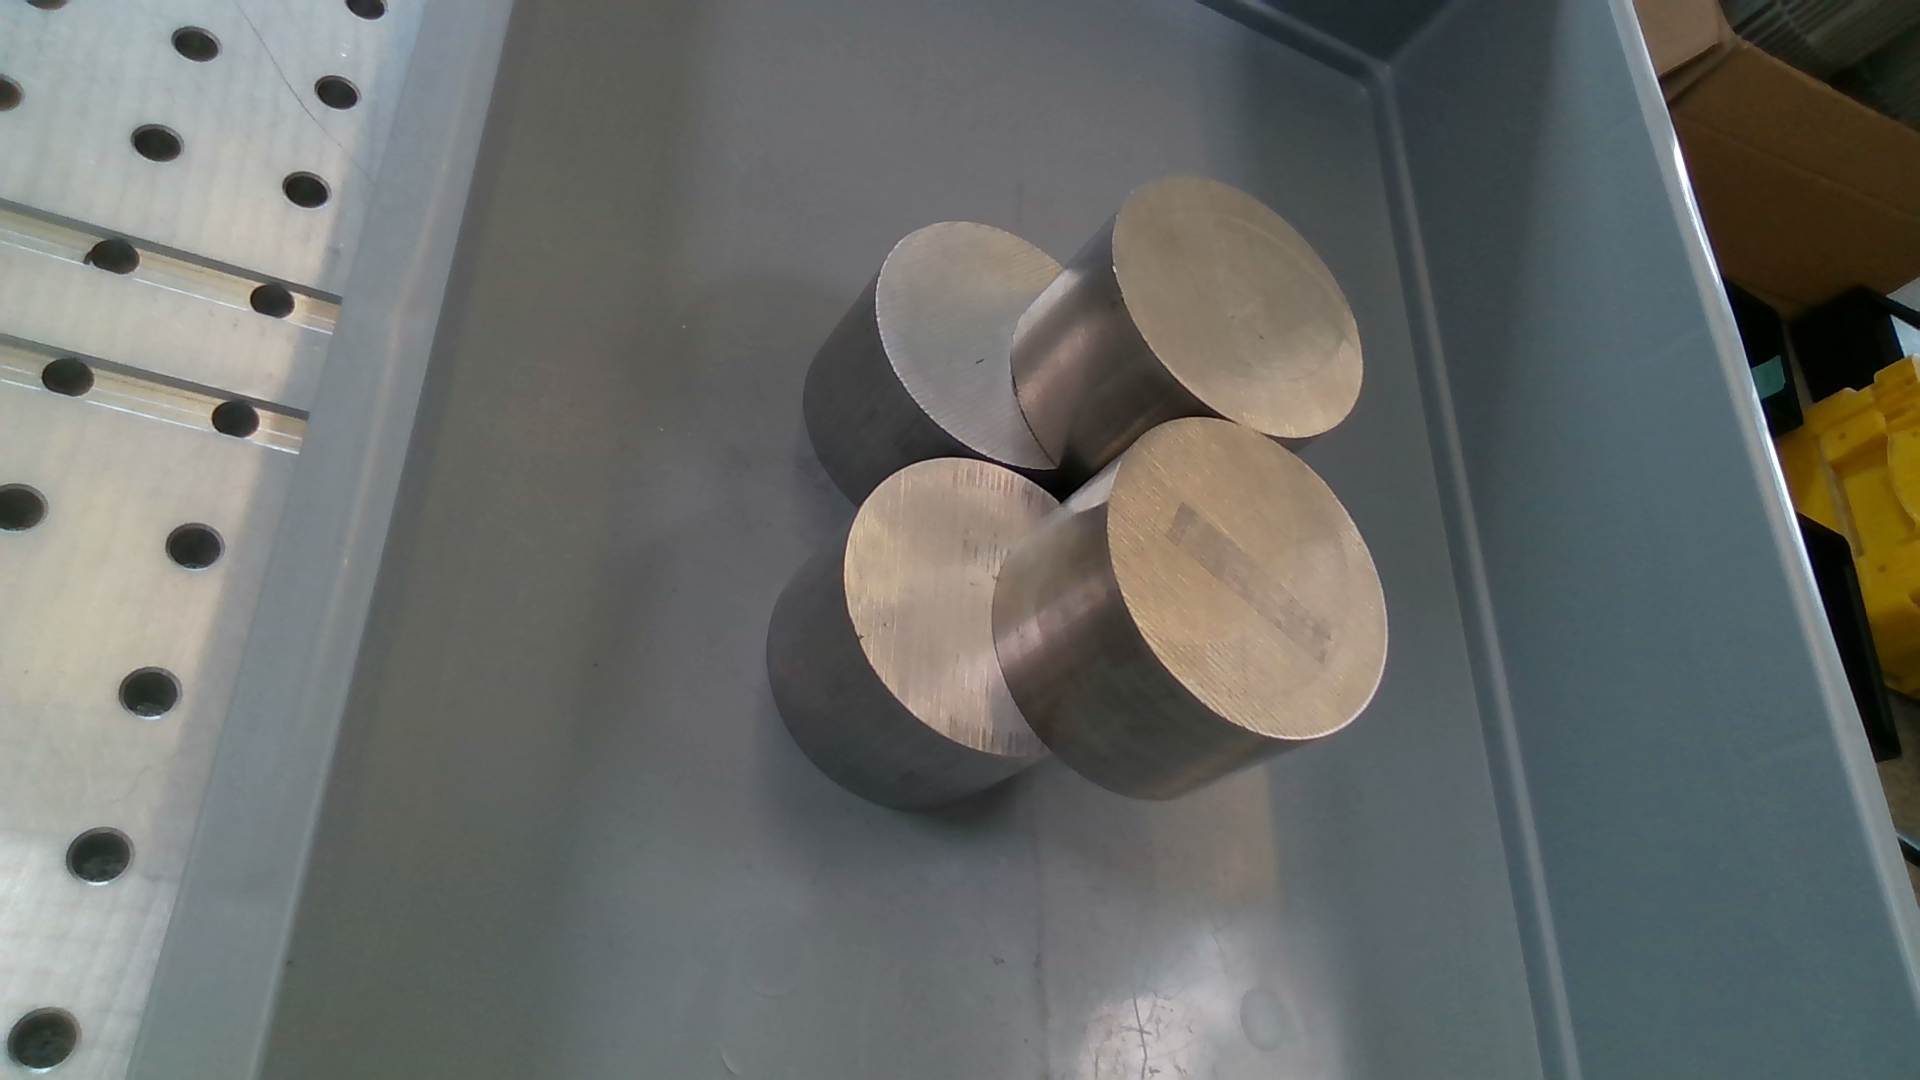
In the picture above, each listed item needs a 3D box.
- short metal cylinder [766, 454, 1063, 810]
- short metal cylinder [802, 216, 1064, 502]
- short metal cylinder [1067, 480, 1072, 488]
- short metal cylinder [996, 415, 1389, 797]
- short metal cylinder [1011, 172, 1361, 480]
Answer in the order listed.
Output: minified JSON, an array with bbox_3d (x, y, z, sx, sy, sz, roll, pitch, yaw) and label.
[{"bbox_3d":[-0.004,0.025,0.360,0.080,0.050,0.080,14,59,-25],"label":"short metal cylinder"},{"bbox_3d":[0.001,-0.046,0.400,0.080,0.050,0.080,14,59,-25],"label":"short metal cylinder"},{"bbox_3d":[0.060,0.009,0.408,0.080,0.050,0.080,14,59,-25],"label":"short metal cylinder"},{"bbox_3d":[0.056,0.017,0.335,0.080,0.050,0.080,14,59,-25],"label":"short metal cylinder"},{"bbox_3d":[0.061,-0.052,0.377,0.080,0.050,0.080,14,59,-25],"label":"short metal cylinder"}]
